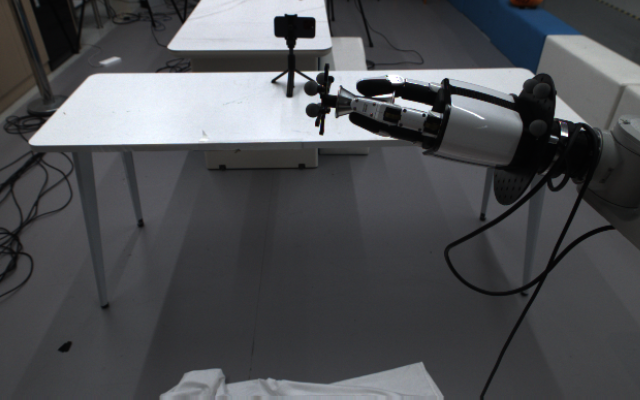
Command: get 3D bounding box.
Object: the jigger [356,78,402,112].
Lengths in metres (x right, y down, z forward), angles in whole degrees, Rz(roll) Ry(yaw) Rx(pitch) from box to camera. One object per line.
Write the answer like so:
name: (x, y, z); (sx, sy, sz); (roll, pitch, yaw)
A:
jigger: (0.063, -0.121, 0.598); (0.071, 0.043, 0.043); (7, 35, 8)
